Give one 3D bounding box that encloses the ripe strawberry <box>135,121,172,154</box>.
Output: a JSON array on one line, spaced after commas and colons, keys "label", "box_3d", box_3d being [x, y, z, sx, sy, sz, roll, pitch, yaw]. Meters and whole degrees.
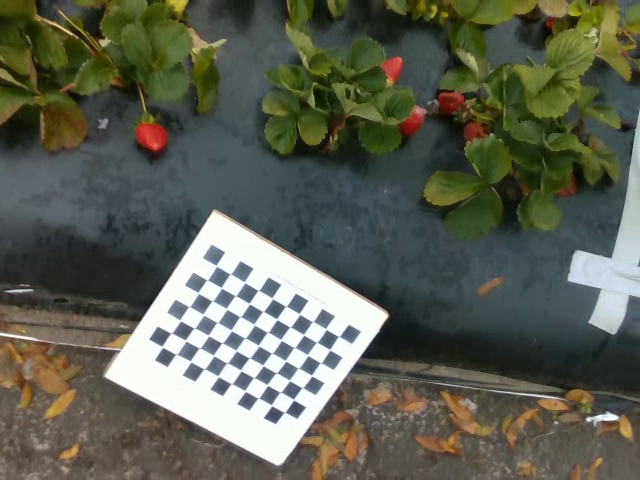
[{"label": "ripe strawberry", "box_3d": [-0.235, -0.146, 0.763, 0.045, 0.053, 0.048, -19, -32, 0]}]
